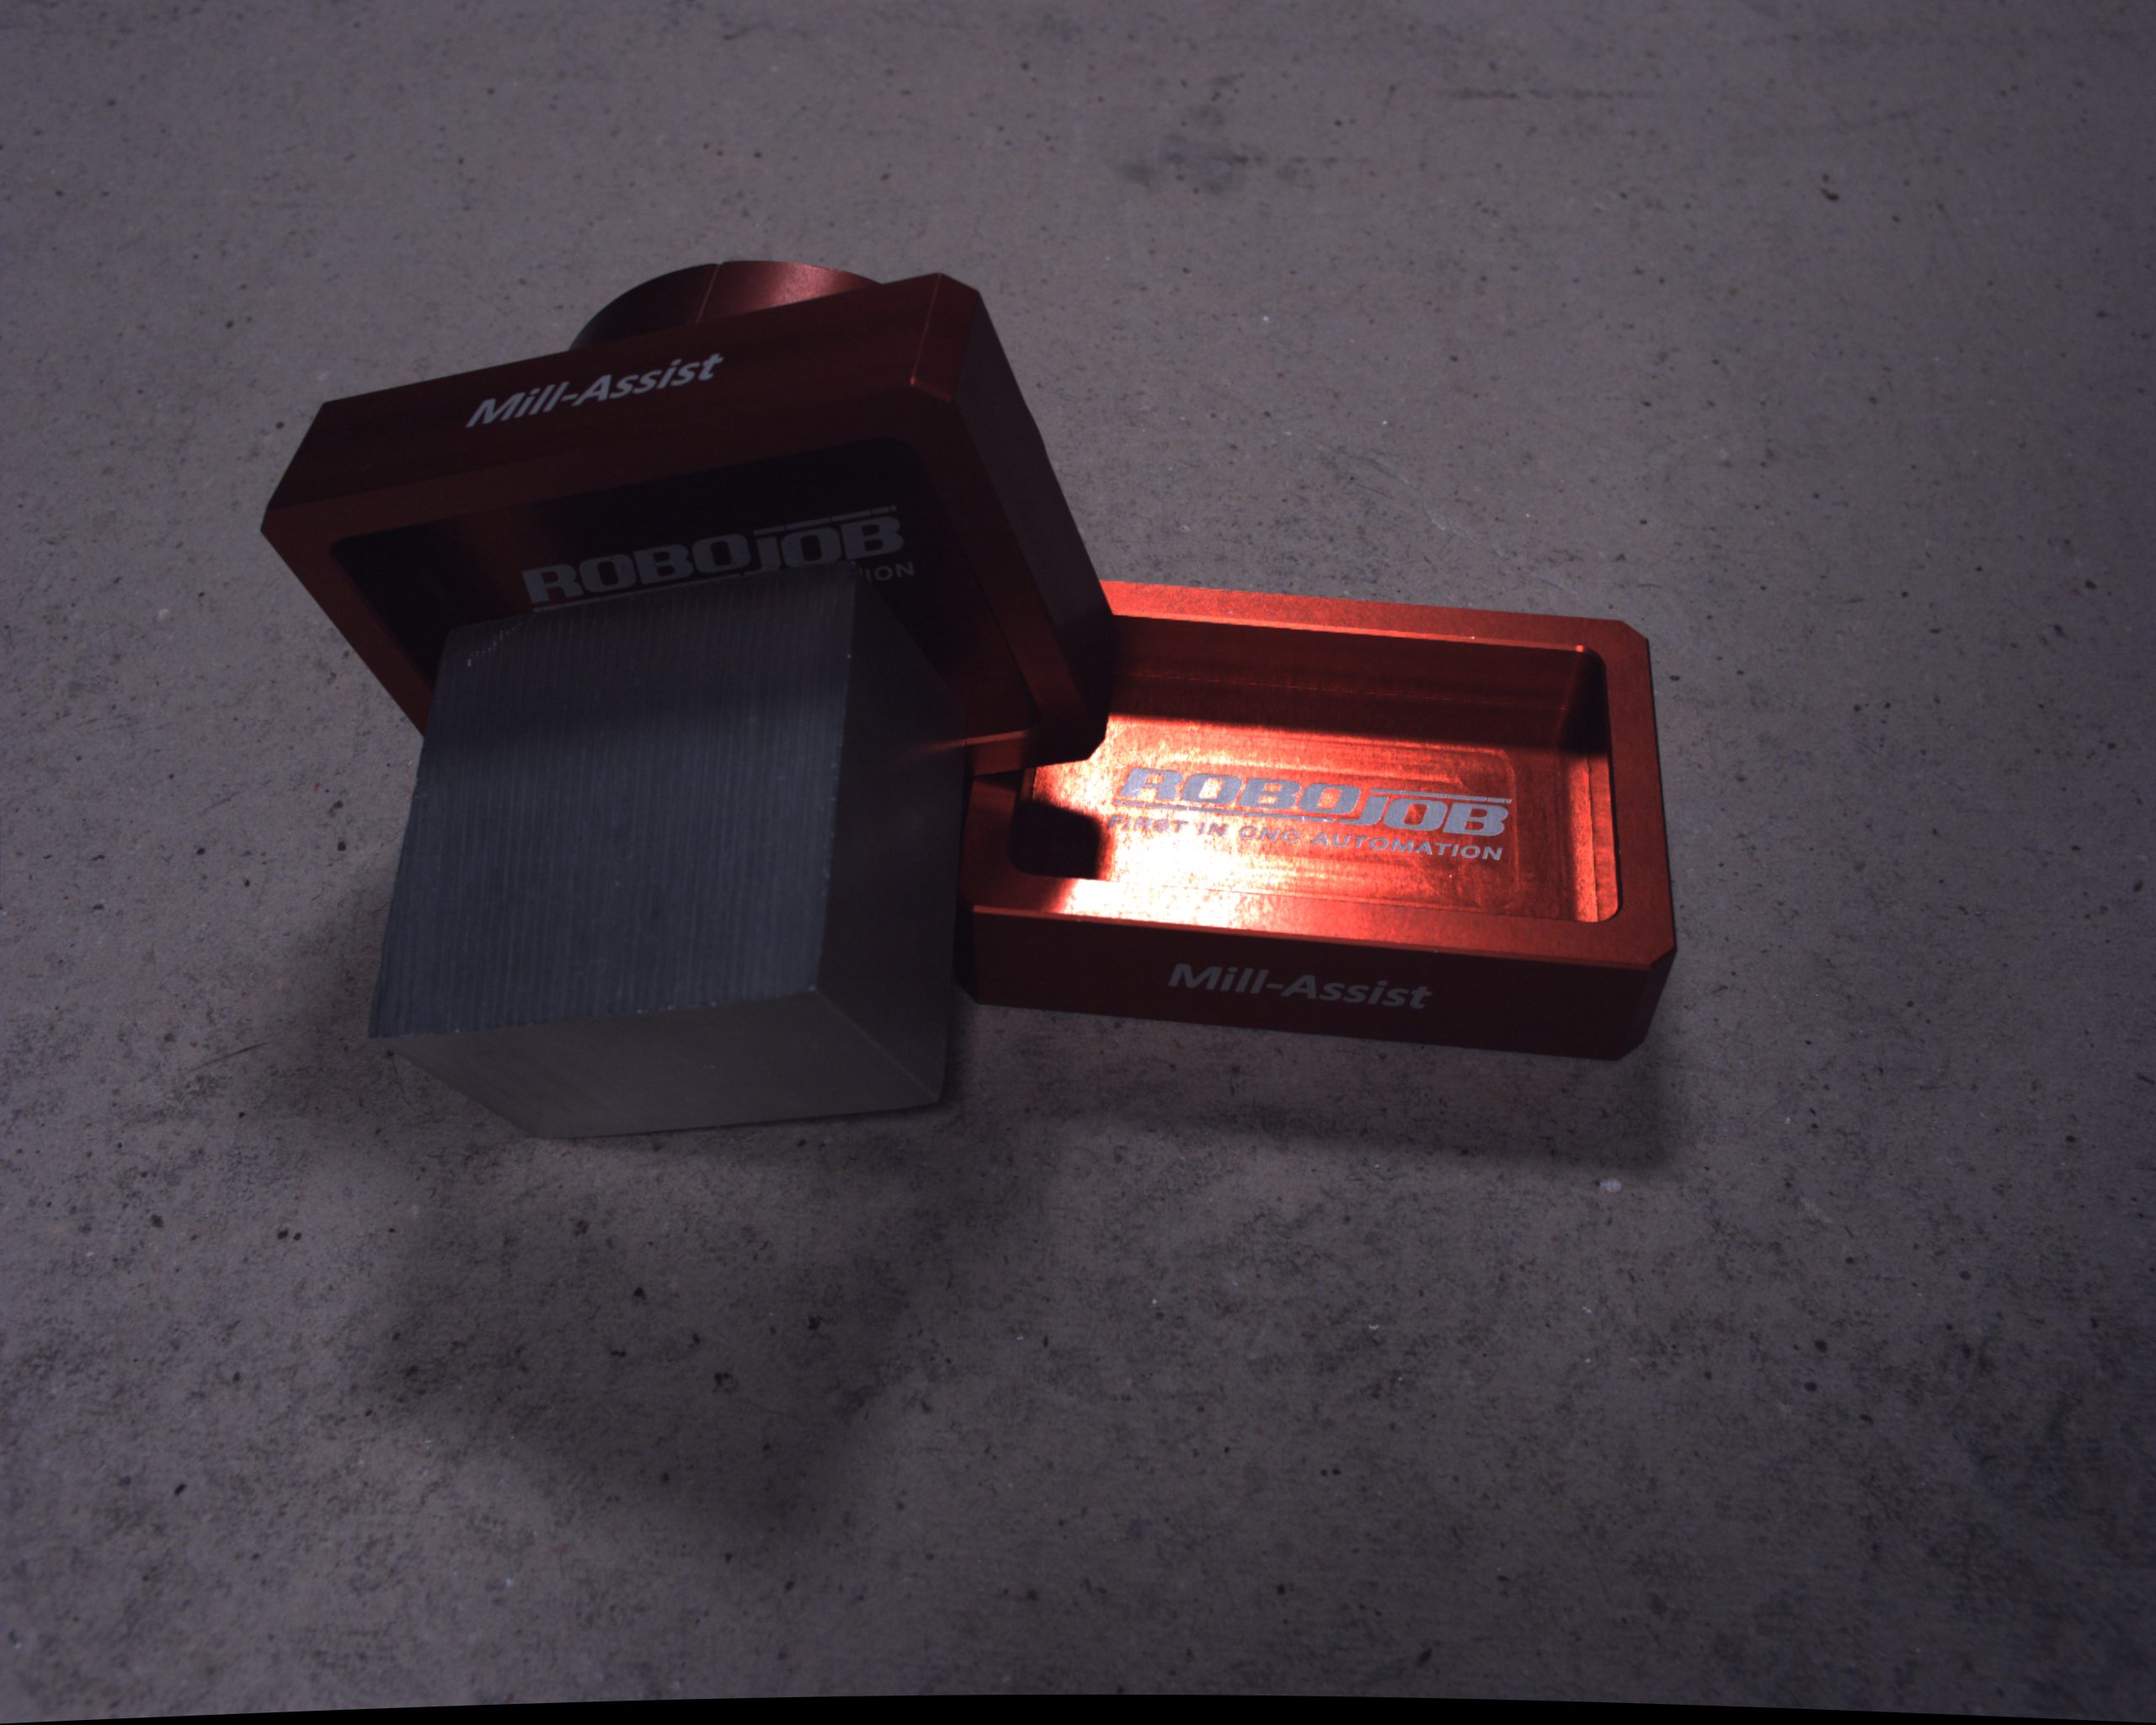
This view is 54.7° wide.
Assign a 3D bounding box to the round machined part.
[{"bbox_3d":[-0.054,-0.077,0.407,0.099,0.097,0.042,5,50,3],"label":"round machined part"}]

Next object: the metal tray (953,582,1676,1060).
[{"bbox_3d":[0.046,-0.011,0.411,0.131,0.030,0.090,5,50,3],"label":"metal tray"}]

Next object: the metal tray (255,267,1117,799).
[{"bbox_3d":[-0.068,-0.052,0.383,0.130,0.090,0.030,-7,49,18],"label":"metal tray"}]

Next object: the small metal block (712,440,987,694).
[{"bbox_3d":[-0.049,-0.066,0.460,0.050,0.025,0.050,5,50,4],"label":"small metal block"}]

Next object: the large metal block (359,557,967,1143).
[{"bbox_3d":[-0.068,0.000,0.363,0.080,0.050,0.080,-7,61,17],"label":"large metal block"}]
